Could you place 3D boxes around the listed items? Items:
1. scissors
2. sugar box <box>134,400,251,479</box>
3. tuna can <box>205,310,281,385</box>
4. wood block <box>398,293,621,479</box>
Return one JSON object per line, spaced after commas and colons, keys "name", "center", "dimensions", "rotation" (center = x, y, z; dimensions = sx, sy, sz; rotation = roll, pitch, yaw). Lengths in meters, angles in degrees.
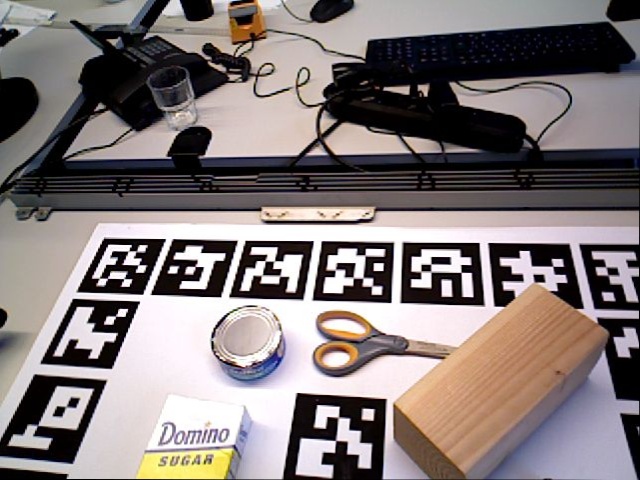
{"name": "scissors", "center": [0.082, 0.133, 0.623], "dimensions": [0.203, 0.016, 0.086], "rotation": [6, 51, 19]}
{"name": "sugar box", "center": [-0.140, 0.254, 0.546], "dimensions": [0.093, 0.046, 0.173], "rotation": [5, 51, 14]}
{"name": "tuna can", "center": [-0.091, 0.128, 0.646], "dimensions": [0.086, 0.034, 0.084], "rotation": [-6, 49, 6]}
{"name": "wood block", "center": [0.183, 0.160, 0.534], "dimensions": [0.203, 0.092, 0.090], "rotation": [-34, 51, -18]}
